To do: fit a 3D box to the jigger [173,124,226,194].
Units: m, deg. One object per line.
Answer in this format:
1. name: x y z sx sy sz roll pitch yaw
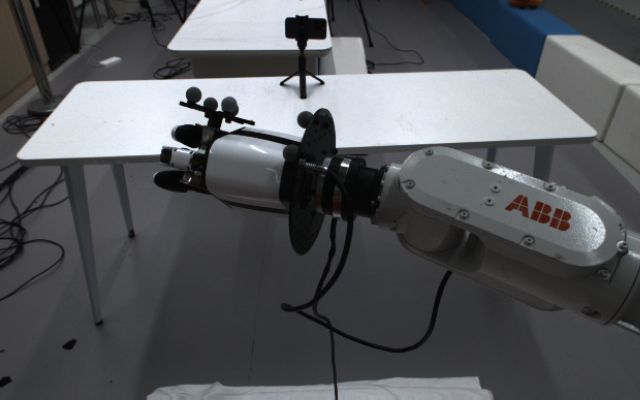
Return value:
1. jigger: -0.132 -0.050 0.552 0.043 0.071 0.043 16 2 -1
